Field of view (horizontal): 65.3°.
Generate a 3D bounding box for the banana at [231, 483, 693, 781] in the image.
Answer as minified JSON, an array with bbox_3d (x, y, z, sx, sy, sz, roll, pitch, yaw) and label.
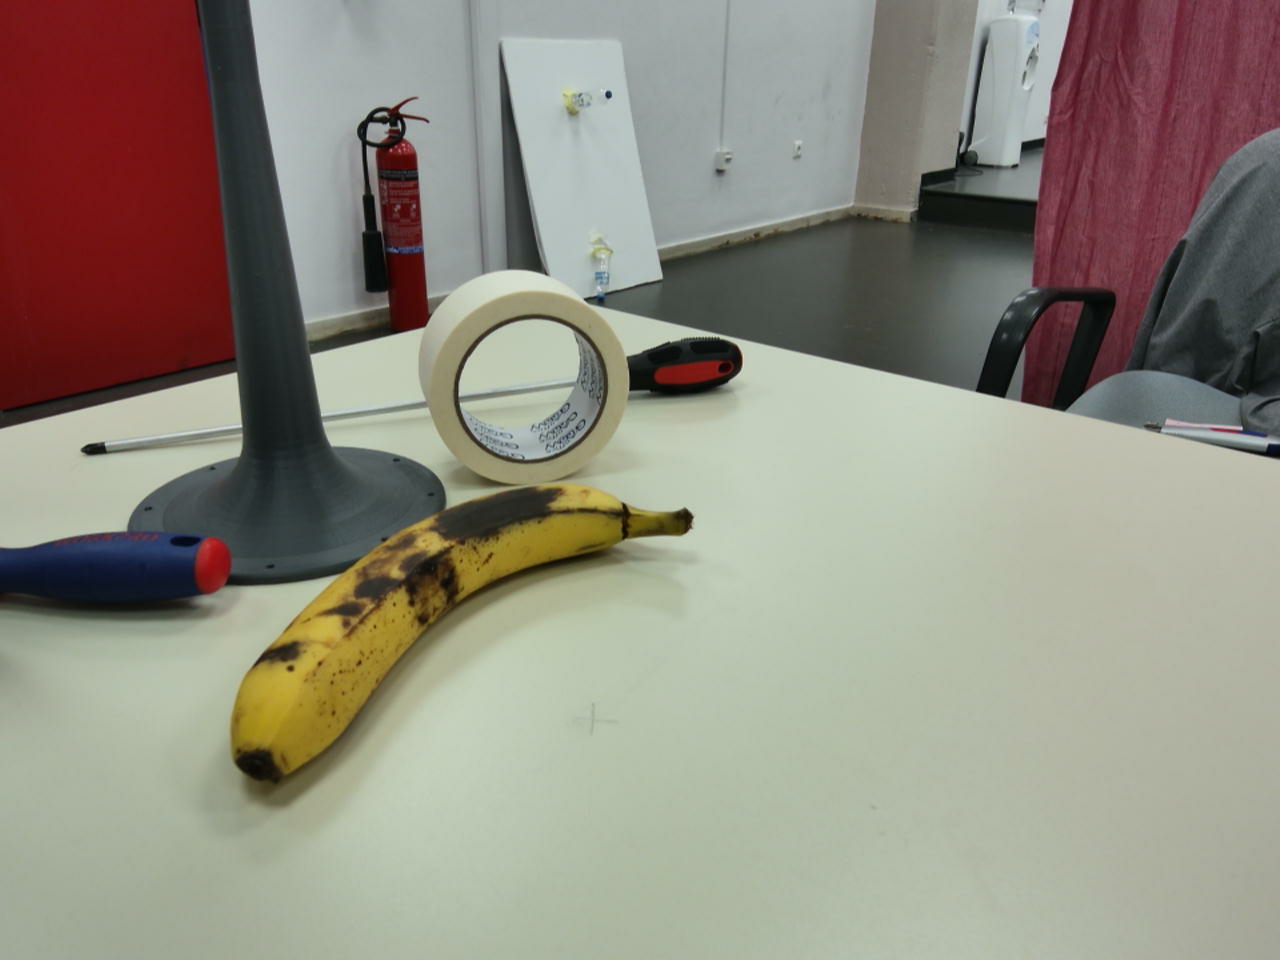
[{"bbox_3d":[-0.075,0.042,0.397,0.084,0.037,0.222,18,28,35],"label":"banana"}]
